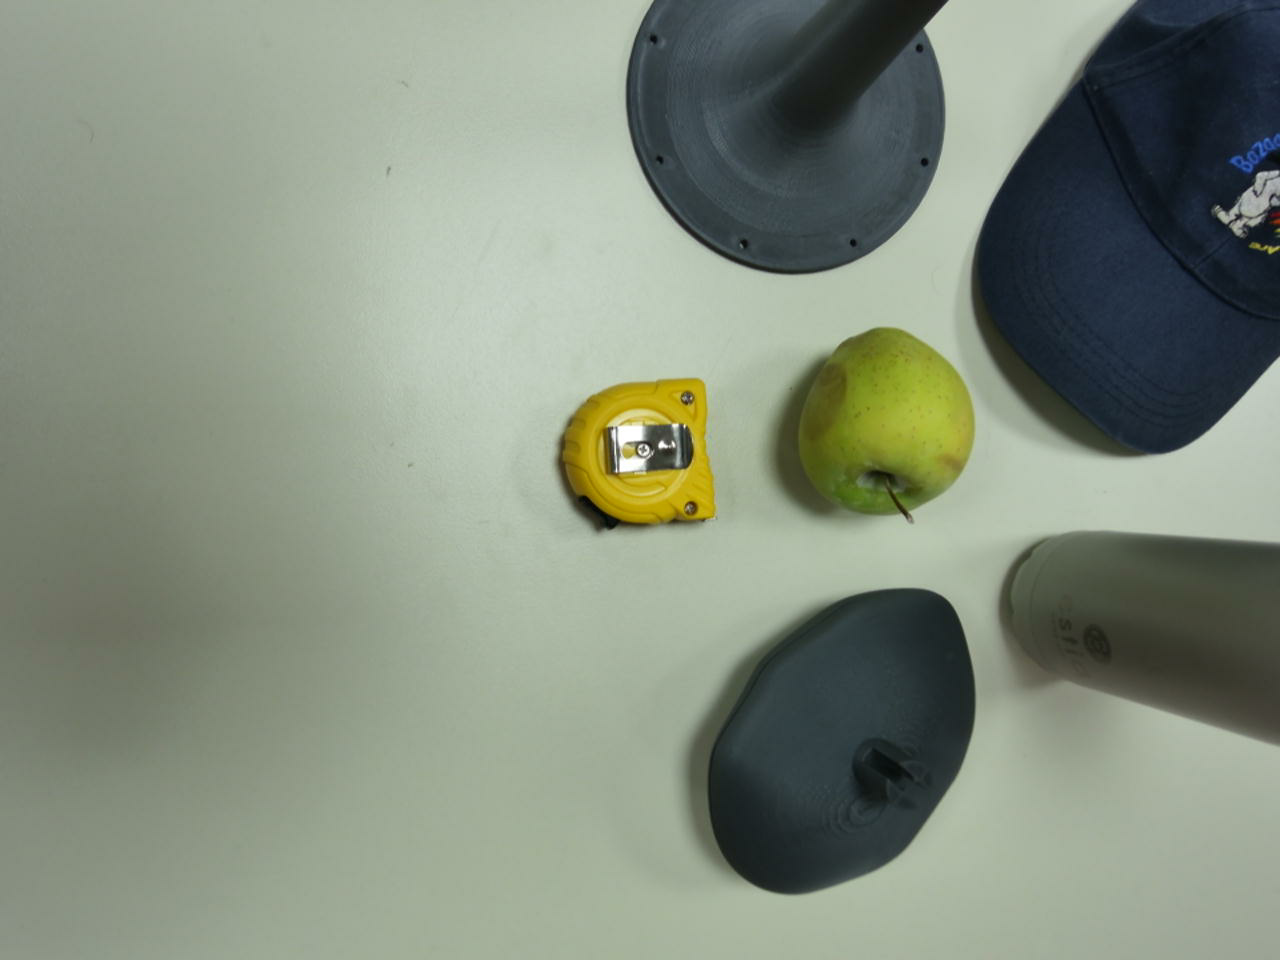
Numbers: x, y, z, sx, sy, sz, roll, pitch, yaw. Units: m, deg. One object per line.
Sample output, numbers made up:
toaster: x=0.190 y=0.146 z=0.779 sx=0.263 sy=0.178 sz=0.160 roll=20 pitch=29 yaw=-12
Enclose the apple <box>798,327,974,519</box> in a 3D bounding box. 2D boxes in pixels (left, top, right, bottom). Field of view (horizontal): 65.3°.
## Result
apple: x=0.104 y=-0.023 z=0.421 sx=0.072 sy=0.075 sz=0.077 roll=45 pitch=82 yaw=-8
